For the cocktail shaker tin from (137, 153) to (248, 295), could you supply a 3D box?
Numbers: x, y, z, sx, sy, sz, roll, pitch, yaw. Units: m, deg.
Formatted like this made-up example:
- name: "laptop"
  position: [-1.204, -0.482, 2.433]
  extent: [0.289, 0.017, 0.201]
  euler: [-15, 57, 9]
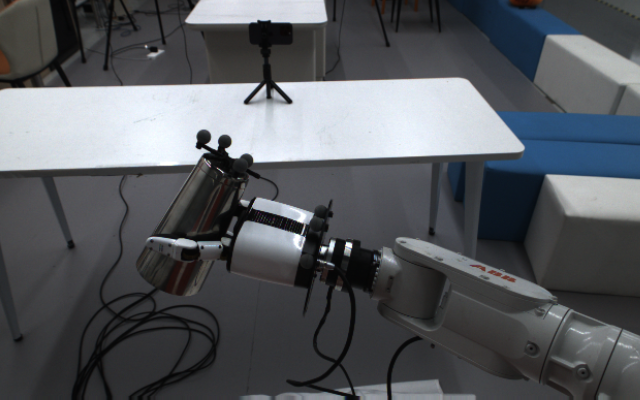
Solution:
- name: "cocktail shaker tin"
  position: [-0.158, 0.026, 0.625]
  extent: [0.093, 0.170, 0.093]
  euler: [28, 14, -7]
